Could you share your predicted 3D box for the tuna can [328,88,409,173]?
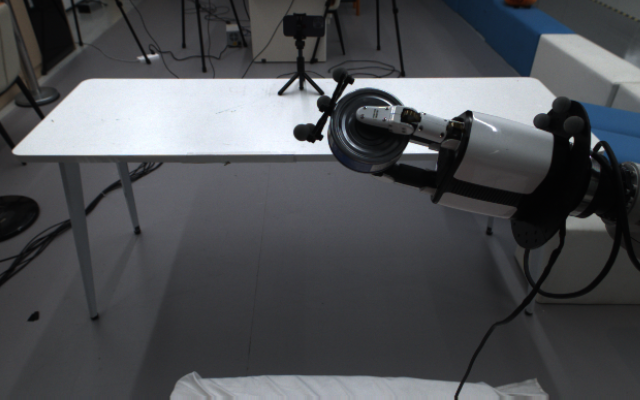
[{"bbox_3d":[0.054,-0.075,0.513,0.085,0.034,0.085,1,75,-5],"label":"tuna can"}]
